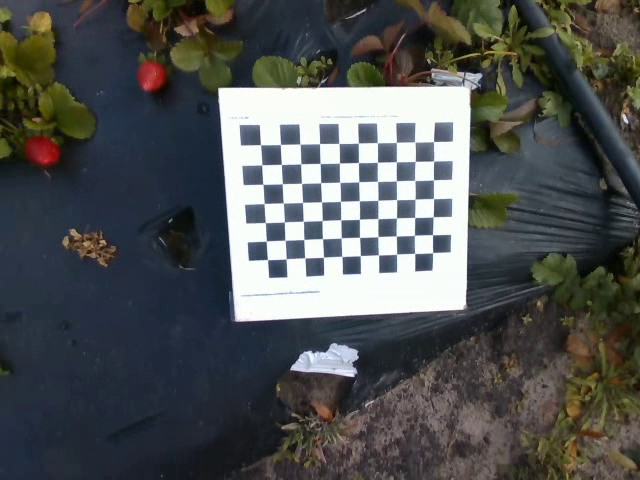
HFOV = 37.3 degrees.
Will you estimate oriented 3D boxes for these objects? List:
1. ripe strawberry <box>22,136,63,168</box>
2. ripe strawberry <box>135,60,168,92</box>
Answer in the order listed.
[{"bbox_3d":[-0.326,-0.093,1.134,0.050,0.046,0.050,-4,32,-15],"label":"ripe strawberry"},{"bbox_3d":[-0.200,-0.188,1.142,0.044,0.052,0.042,20,-37,-20],"label":"ripe strawberry"}]
